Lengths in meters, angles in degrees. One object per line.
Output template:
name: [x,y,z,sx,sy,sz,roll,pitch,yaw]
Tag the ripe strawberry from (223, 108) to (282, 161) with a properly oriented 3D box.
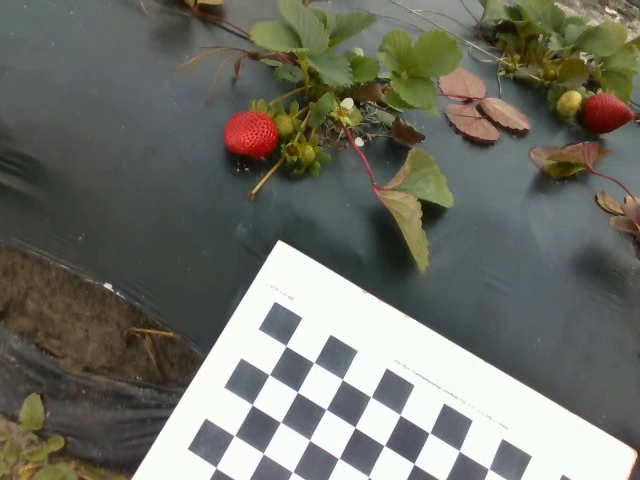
ripe strawberry: [-0.017,-0.024,0.139,0.018,0.014,0.017,37,35,-3]
